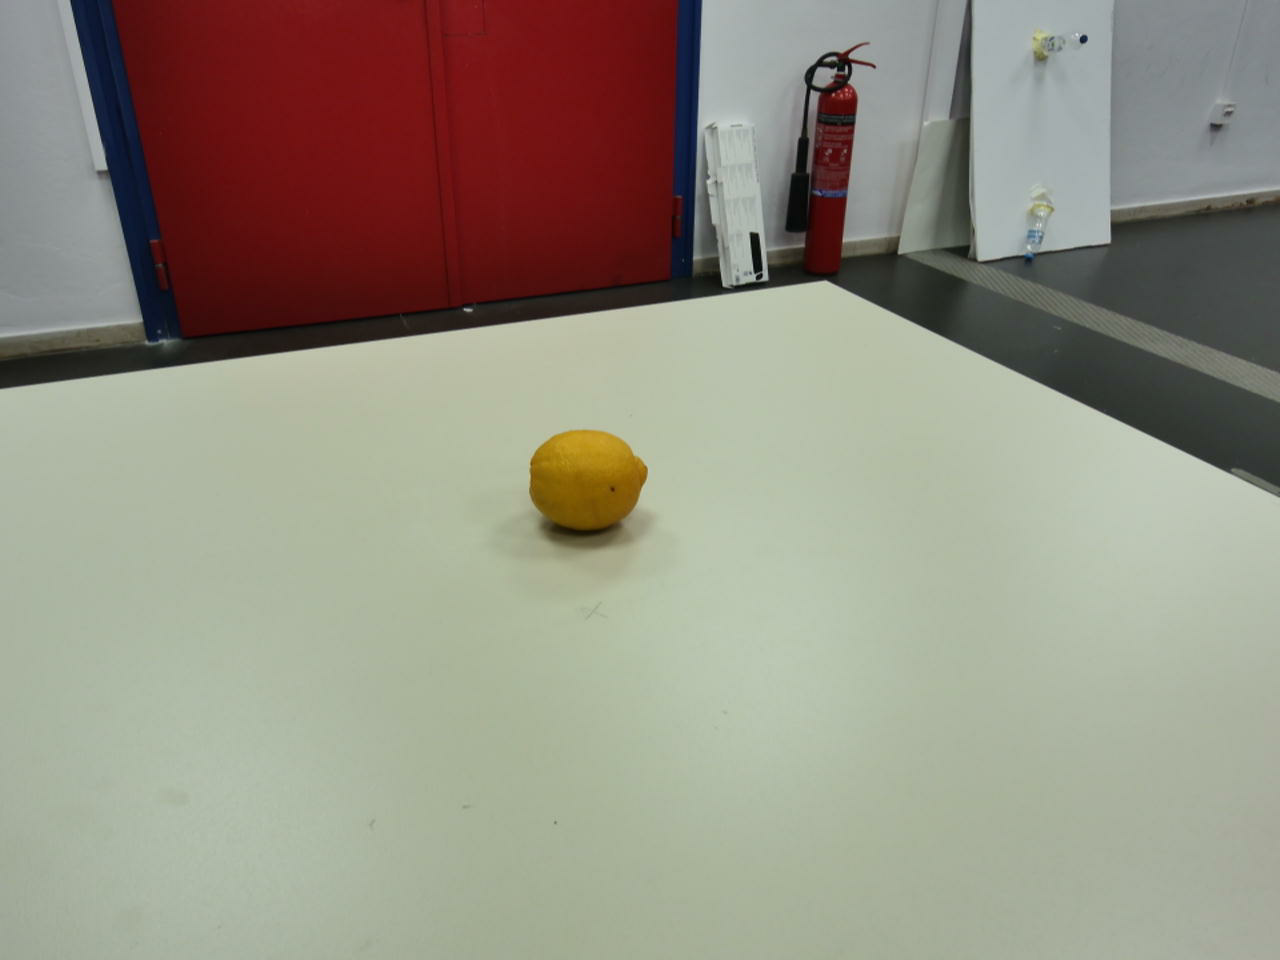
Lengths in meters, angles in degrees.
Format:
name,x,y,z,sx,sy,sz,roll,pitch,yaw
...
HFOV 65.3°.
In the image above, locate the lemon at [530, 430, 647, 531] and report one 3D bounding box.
name,x,y,z,sx,sy,sz,roll,pitch,yaw
lemon,-0.032,0.001,0.590,0.067,0.059,0.060,8,27,16
